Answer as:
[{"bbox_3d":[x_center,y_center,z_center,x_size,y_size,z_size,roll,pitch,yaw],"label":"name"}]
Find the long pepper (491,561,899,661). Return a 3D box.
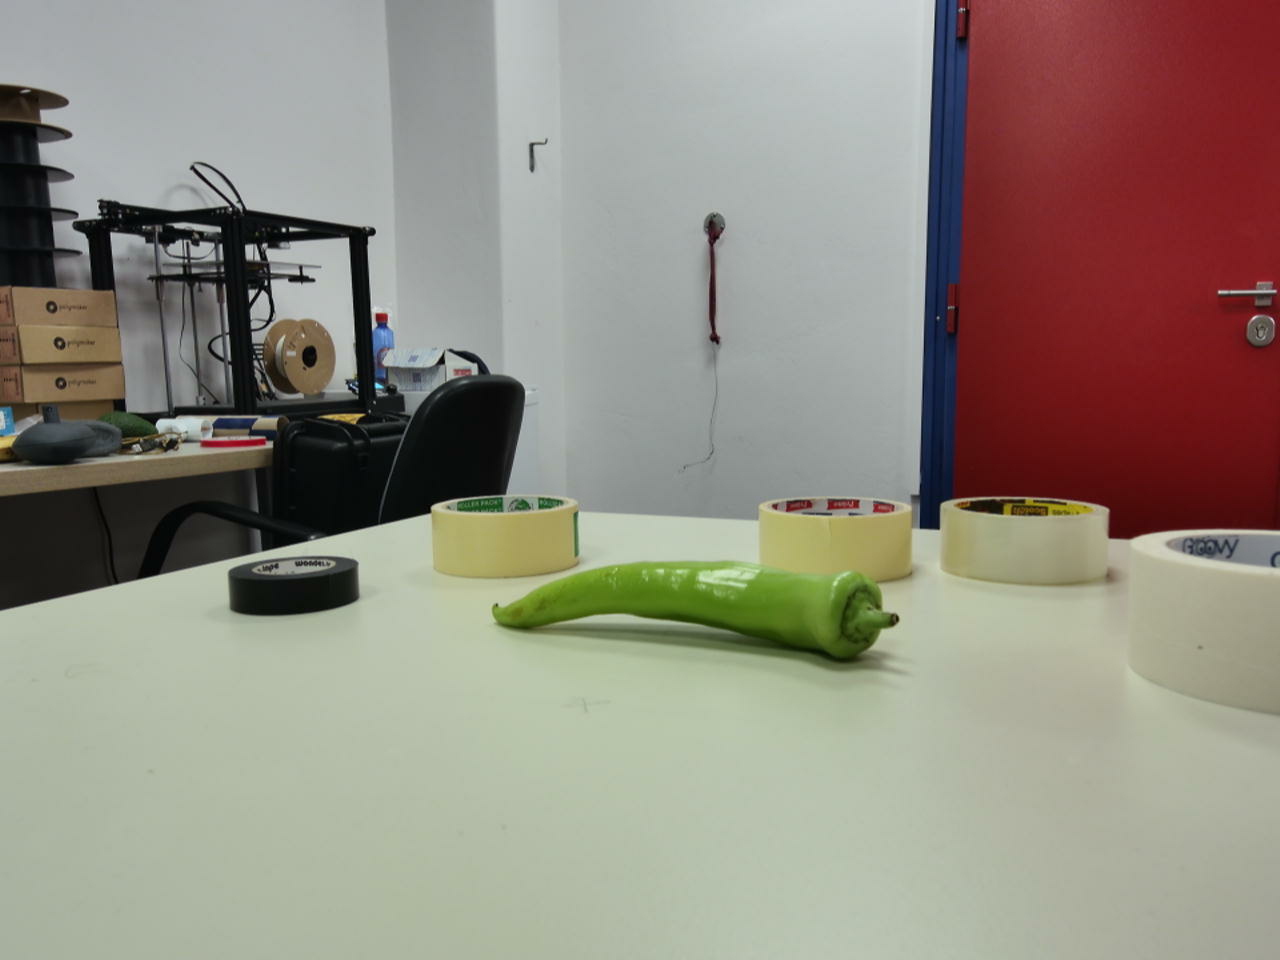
[{"bbox_3d":[0.021,0.053,0.450,0.197,0.038,0.046,2,4,27],"label":"long pepper"}]
